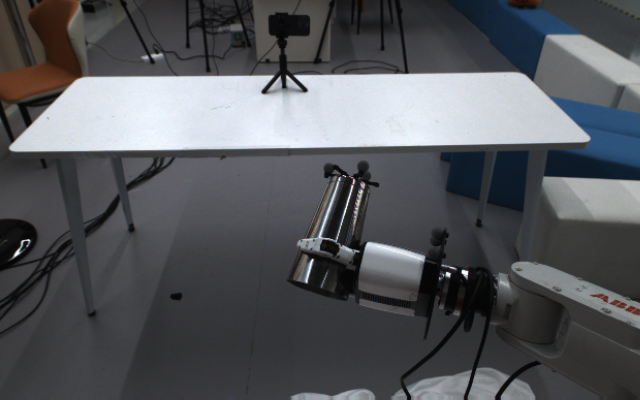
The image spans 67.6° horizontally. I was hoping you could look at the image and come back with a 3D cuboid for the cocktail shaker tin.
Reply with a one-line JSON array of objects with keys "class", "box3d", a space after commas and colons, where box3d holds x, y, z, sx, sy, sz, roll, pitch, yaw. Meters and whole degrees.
[{"class": "cocktail shaker tin", "box3d": [0.019, 0.053, 0.718, 0.093, 0.093, 0.170, 14, 73, 16]}]
